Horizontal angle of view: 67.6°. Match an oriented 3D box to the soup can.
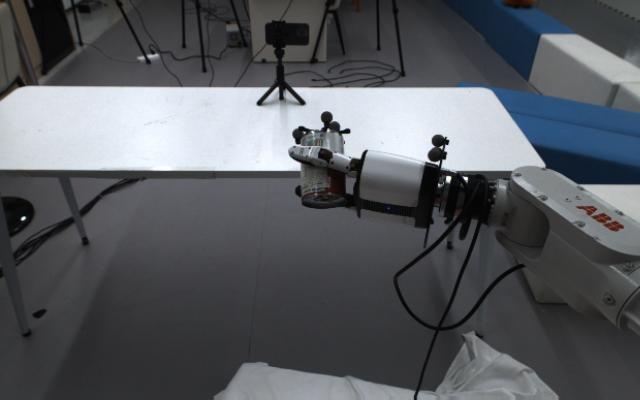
[{"bbox_3d":[0.005,-0.046,0.715,0.067,0.067,0.101,-1,71,-5],"label":"soup can"}]
